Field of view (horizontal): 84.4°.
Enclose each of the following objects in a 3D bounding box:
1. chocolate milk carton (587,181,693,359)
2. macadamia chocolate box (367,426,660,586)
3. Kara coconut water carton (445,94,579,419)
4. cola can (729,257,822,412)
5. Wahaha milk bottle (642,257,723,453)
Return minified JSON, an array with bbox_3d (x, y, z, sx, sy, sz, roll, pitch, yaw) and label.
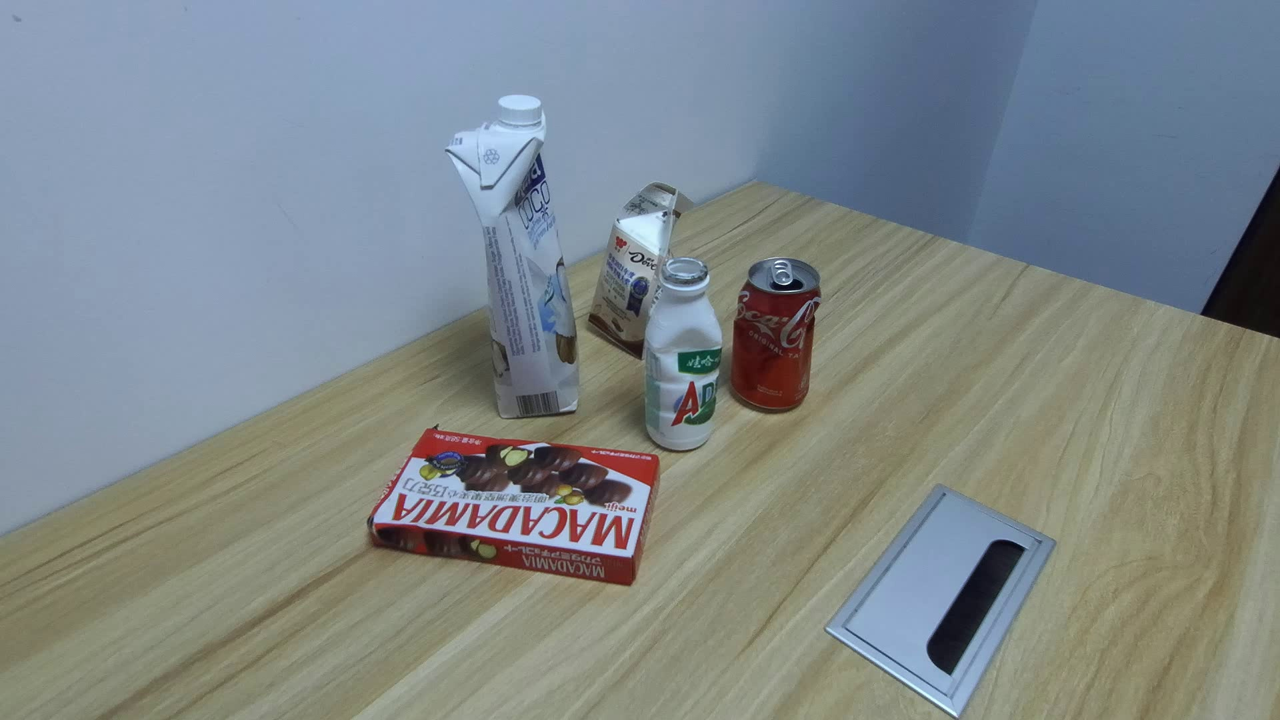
[{"bbox_3d":[0.011,-0.087,0.638,0.076,0.155,0.089,28,29,30],"label":"chocolate milk carton"},{"bbox_3d":[-0.083,0.095,0.490,0.183,0.028,0.106,6,36,9],"label":"macadamia chocolate box"},{"bbox_3d":[-0.089,-0.072,0.536,0.069,0.239,0.115,-4,32,-2],"label":"Kara coconut water carton"},{"bbox_3d":[0.110,-0.021,0.572,0.066,0.117,0.066,23,41,30],"label":"cola can"},{"bbox_3d":[0.031,-0.002,0.512,0.056,0.148,0.056,1,37,-1],"label":"Wahaha milk bottle"}]
